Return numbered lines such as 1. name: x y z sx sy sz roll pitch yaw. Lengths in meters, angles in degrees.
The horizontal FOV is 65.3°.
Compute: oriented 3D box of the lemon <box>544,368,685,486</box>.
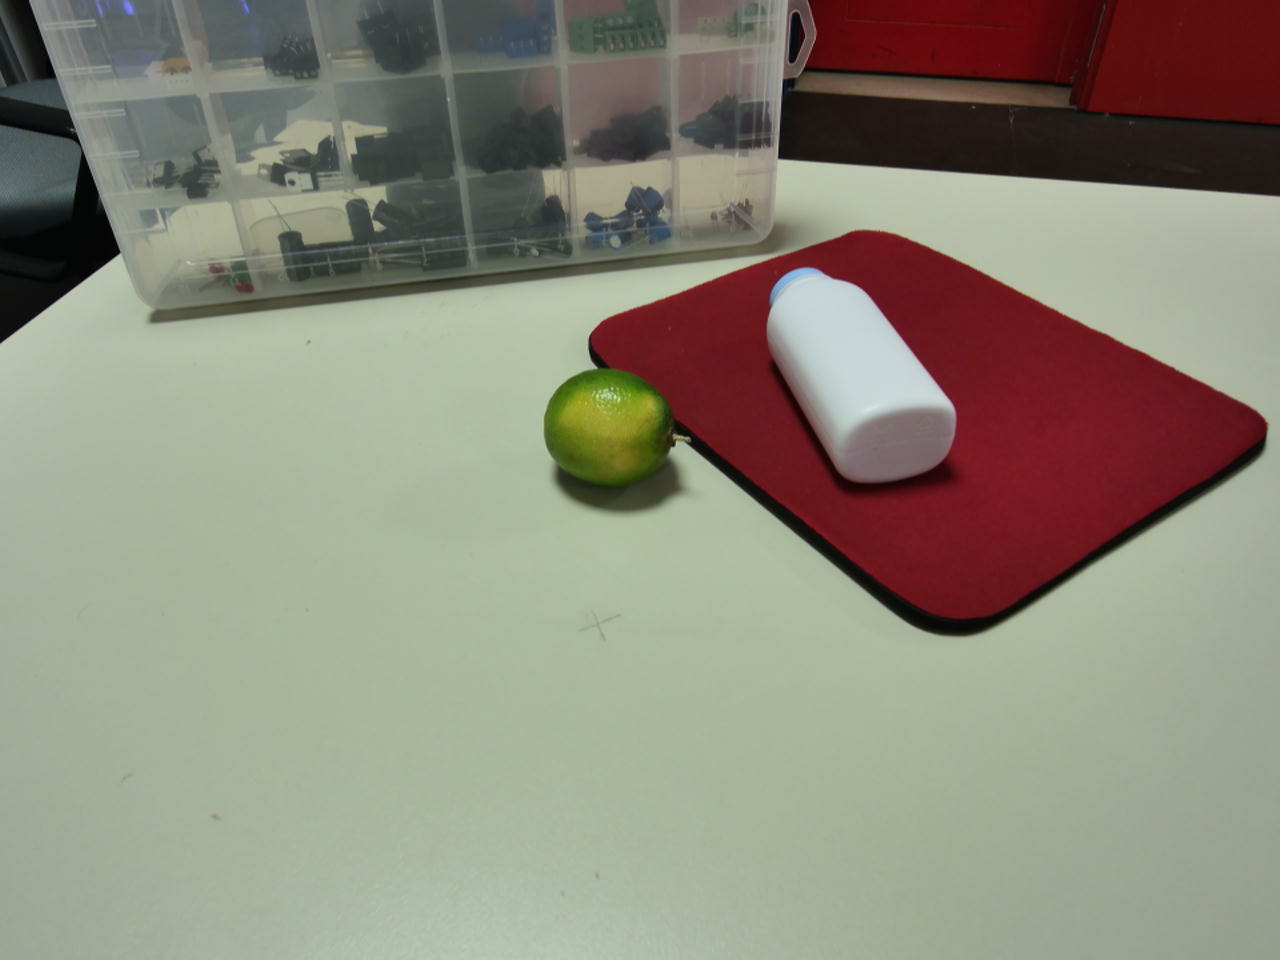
1. lemon: -0.014 -0.023 0.434 0.054 0.050 0.055 -17 41 -20
